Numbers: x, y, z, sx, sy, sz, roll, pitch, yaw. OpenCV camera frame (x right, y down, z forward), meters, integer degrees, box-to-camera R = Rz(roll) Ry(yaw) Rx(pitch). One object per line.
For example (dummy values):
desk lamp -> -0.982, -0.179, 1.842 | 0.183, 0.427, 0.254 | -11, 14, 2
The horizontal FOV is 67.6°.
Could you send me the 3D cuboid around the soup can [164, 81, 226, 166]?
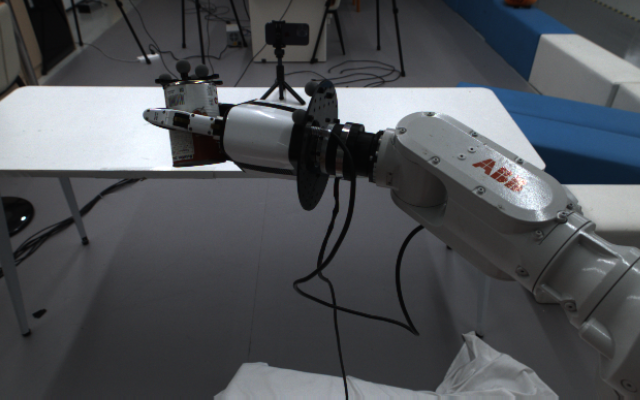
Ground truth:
soup can -> -0.161, -0.095, 0.624 | 0.067, 0.101, 0.067 | -7, 3, 0
